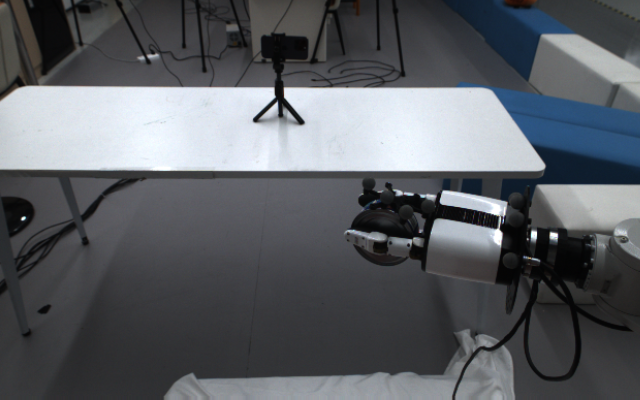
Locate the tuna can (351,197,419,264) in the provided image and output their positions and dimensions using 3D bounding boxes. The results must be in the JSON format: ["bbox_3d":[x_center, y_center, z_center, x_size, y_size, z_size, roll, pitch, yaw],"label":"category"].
[{"bbox_3d":[0.088,0.041,0.638,0.085,0.085,0.034,16,28,19],"label":"tuna can"}]
